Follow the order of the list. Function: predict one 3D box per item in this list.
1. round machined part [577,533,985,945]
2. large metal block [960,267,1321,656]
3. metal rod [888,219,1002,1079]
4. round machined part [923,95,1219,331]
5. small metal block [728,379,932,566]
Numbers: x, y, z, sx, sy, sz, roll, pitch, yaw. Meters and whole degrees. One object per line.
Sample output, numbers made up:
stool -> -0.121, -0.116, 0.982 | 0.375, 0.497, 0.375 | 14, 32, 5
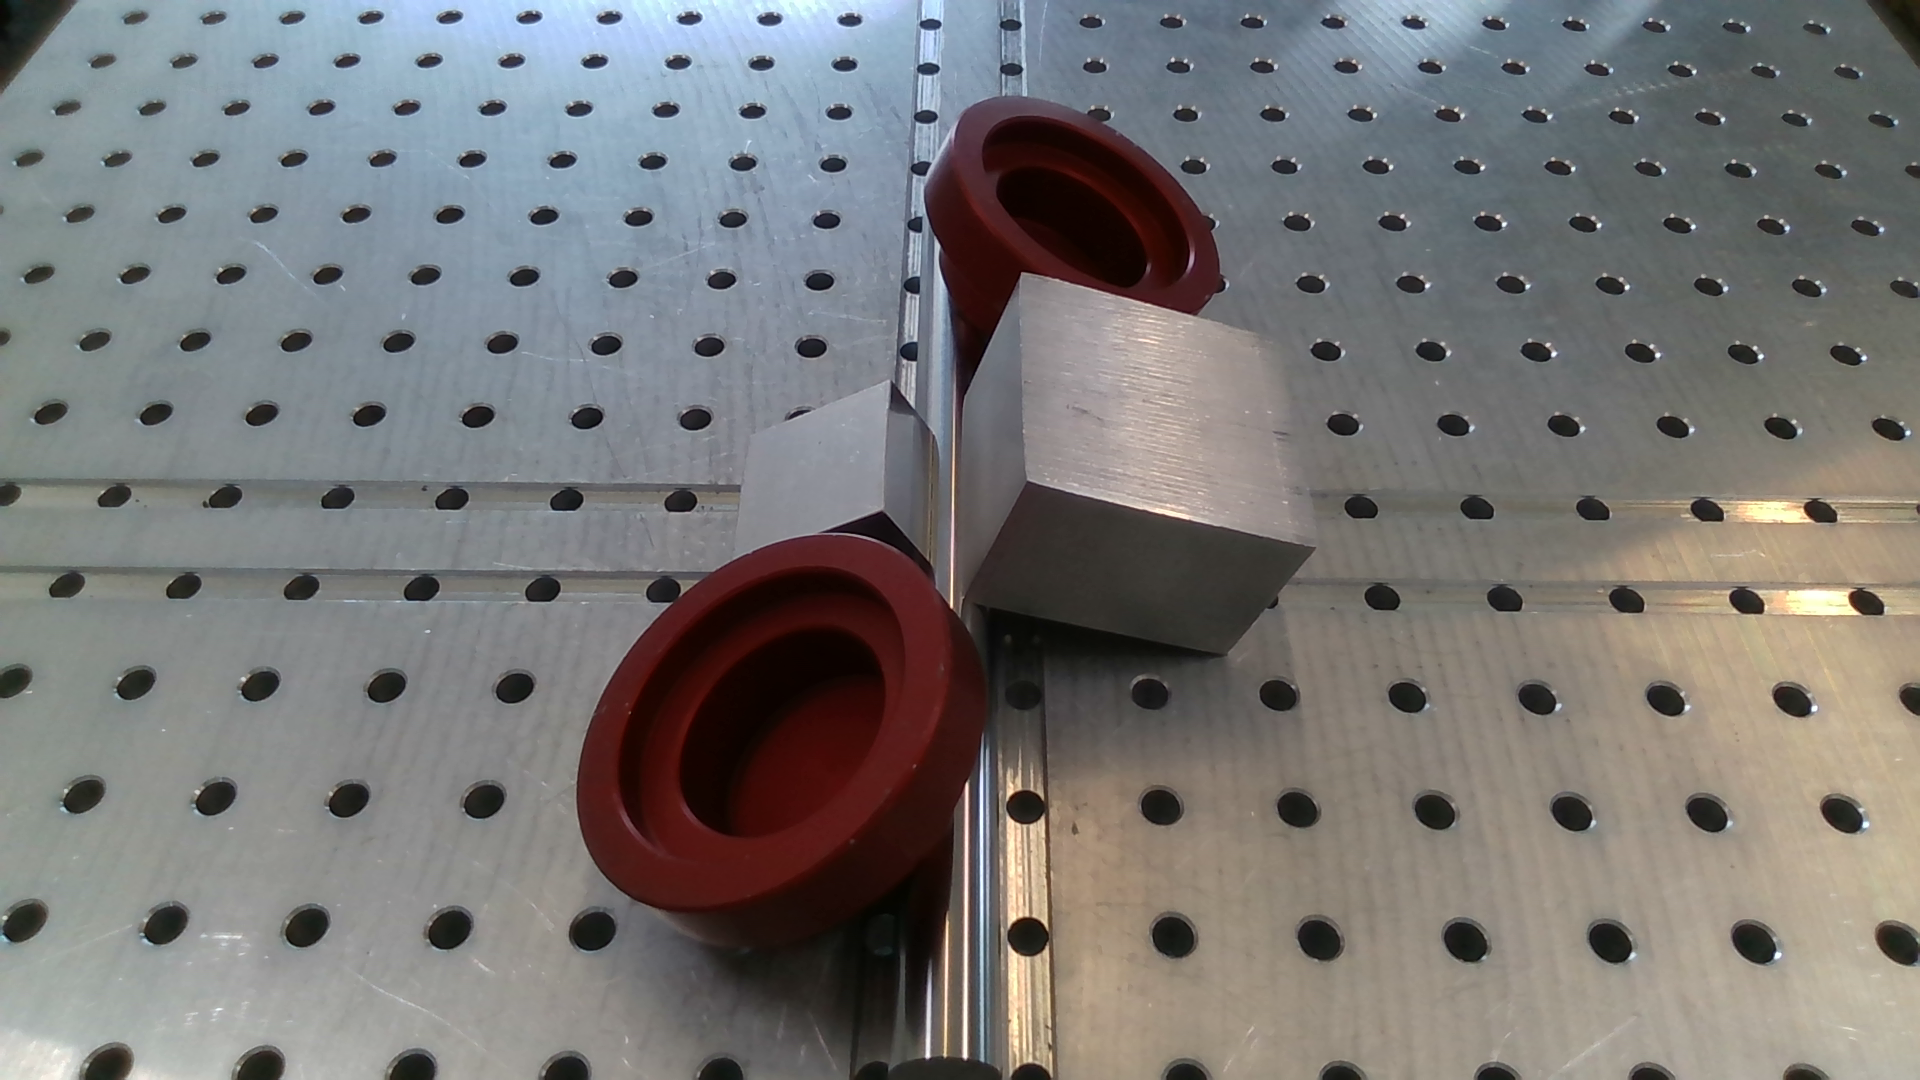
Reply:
round machined part -> -0.038, 0.050, 0.328 | 0.098, 0.042, 0.098 | -17, 47, 19
large metal block -> 0.046, -0.022, 0.384 | 0.080, 0.050, 0.080 | 12, 49, -13
metal rod -> -0.002, 0.002, 0.397 | 0.025, 0.025, 0.299 | 0, 50, 0
round machined part -> 0.032, -0.096, 0.449 | 0.098, 0.042, 0.098 | 17, 47, -20
small metal block -> -0.036, -0.012, 0.394 | 0.050, 0.025, 0.050 | -19, 46, 22
